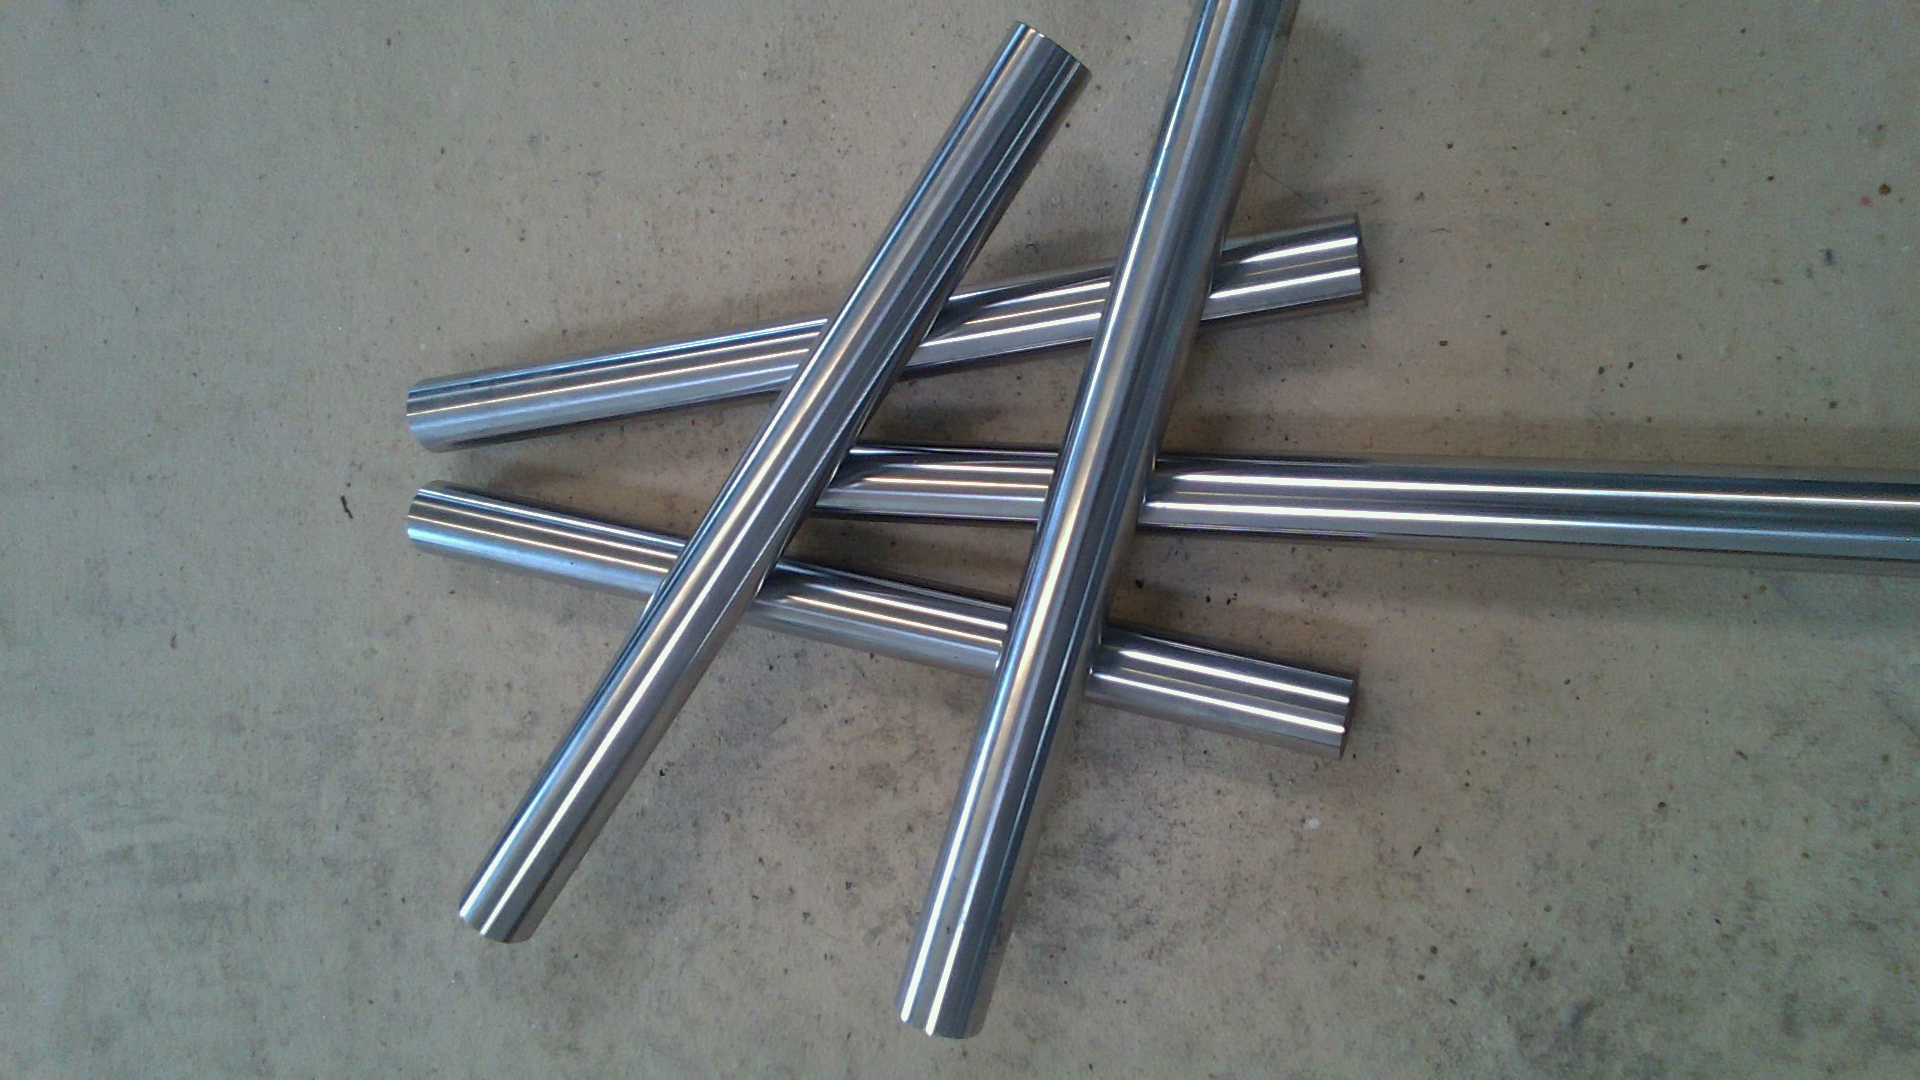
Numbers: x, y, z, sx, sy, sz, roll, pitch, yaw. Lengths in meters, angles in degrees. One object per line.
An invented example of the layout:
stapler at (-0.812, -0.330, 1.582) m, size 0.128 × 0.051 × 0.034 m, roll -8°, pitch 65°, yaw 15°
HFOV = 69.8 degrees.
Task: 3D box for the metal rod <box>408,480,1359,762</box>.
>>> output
metal rod at (-0.037, 0.019, 0.409) m, size 0.299 × 0.025 × 0.025 m, roll 11°, pitch 94°, yaw 19°

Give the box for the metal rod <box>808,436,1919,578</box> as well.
metal rod at (0.085, -0.012, 0.365) m, size 0.299 × 0.025 × 0.025 m, roll 3°, pitch 91°, yaw 20°

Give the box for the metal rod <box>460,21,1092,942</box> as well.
metal rod at (-0.058, -0.007, 0.391) m, size 0.025 × 0.025 × 0.300 m, roll 38°, pitch 102°, yaw 16°

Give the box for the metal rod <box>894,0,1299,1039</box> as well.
metal rod at (0.036, -0.015, 0.356) m, size 0.025 × 0.025 × 0.300 m, roll 18°, pitch 96°, yaw 19°

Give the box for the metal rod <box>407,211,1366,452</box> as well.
metal rod at (-0.036, -0.057, 0.409) m, size 0.299 × 0.025 × 0.025 m, roll -6°, pitch 88°, yaw 20°
